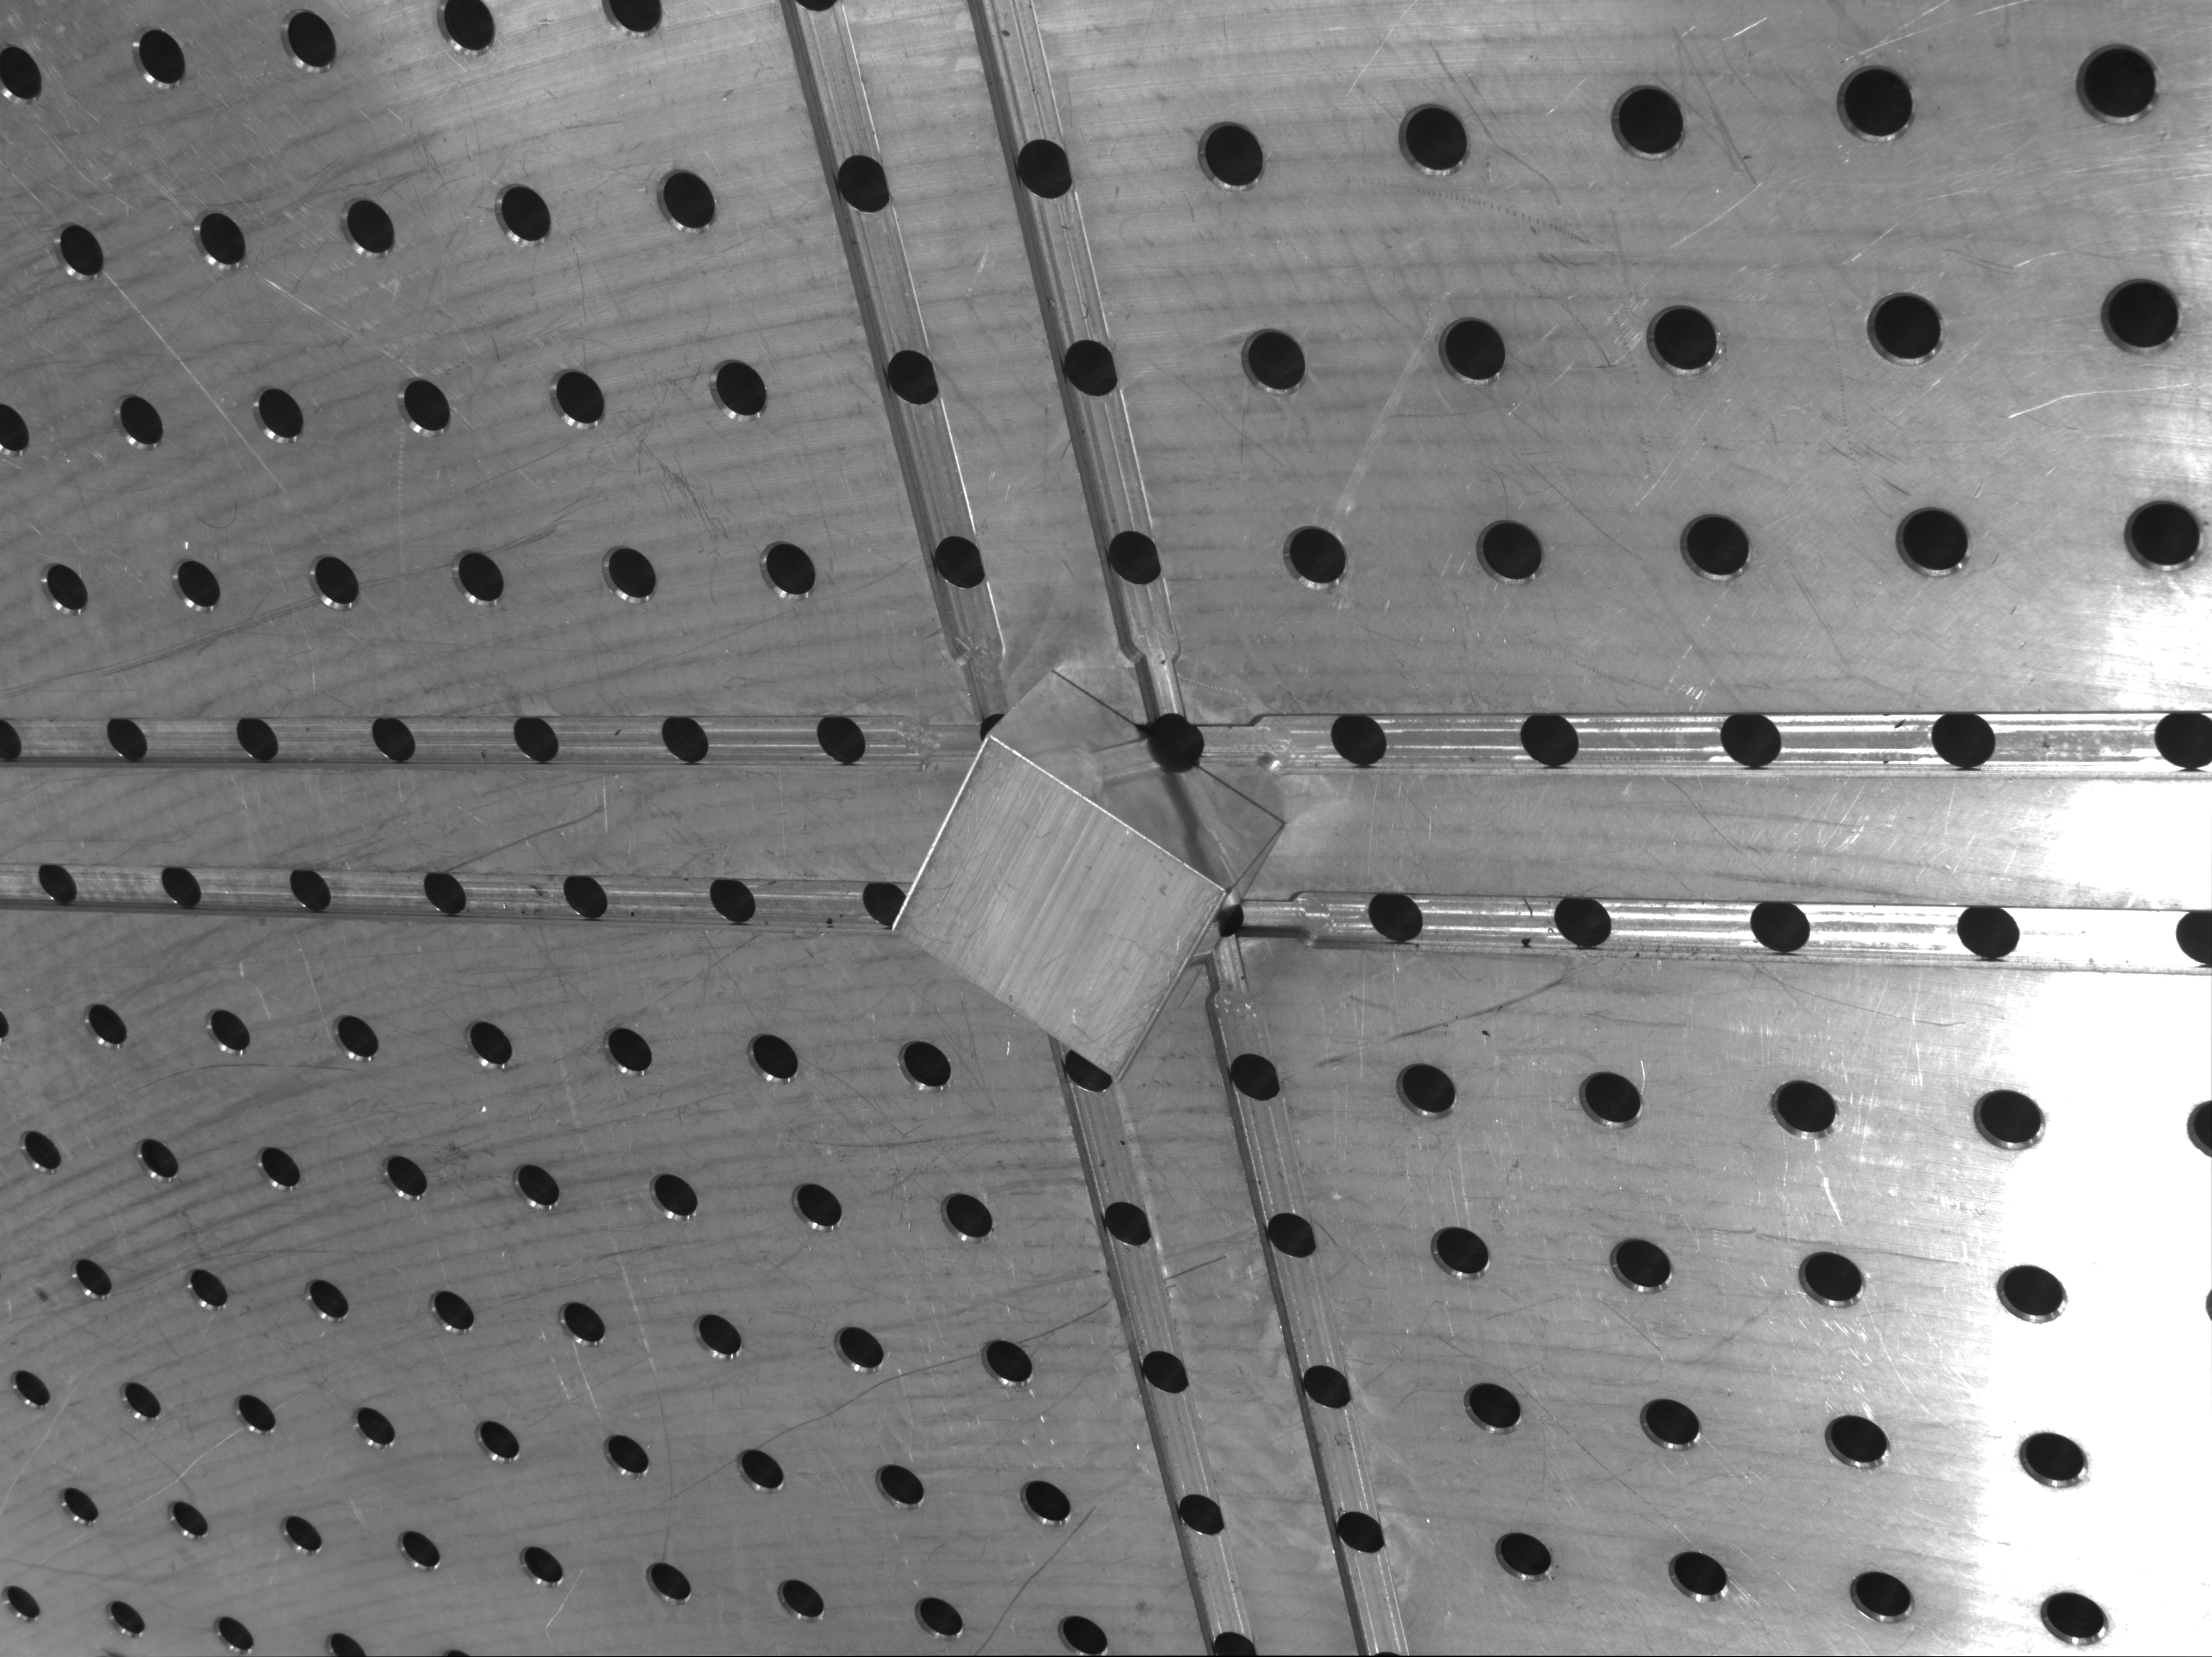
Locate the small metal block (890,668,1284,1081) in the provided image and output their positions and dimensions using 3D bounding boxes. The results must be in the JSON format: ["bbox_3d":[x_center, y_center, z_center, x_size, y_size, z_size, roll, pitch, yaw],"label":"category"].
[{"bbox_3d":[-0.004,0.008,0.654,0.050,0.025,0.050,33,129,6],"label":"small metal block"}]
